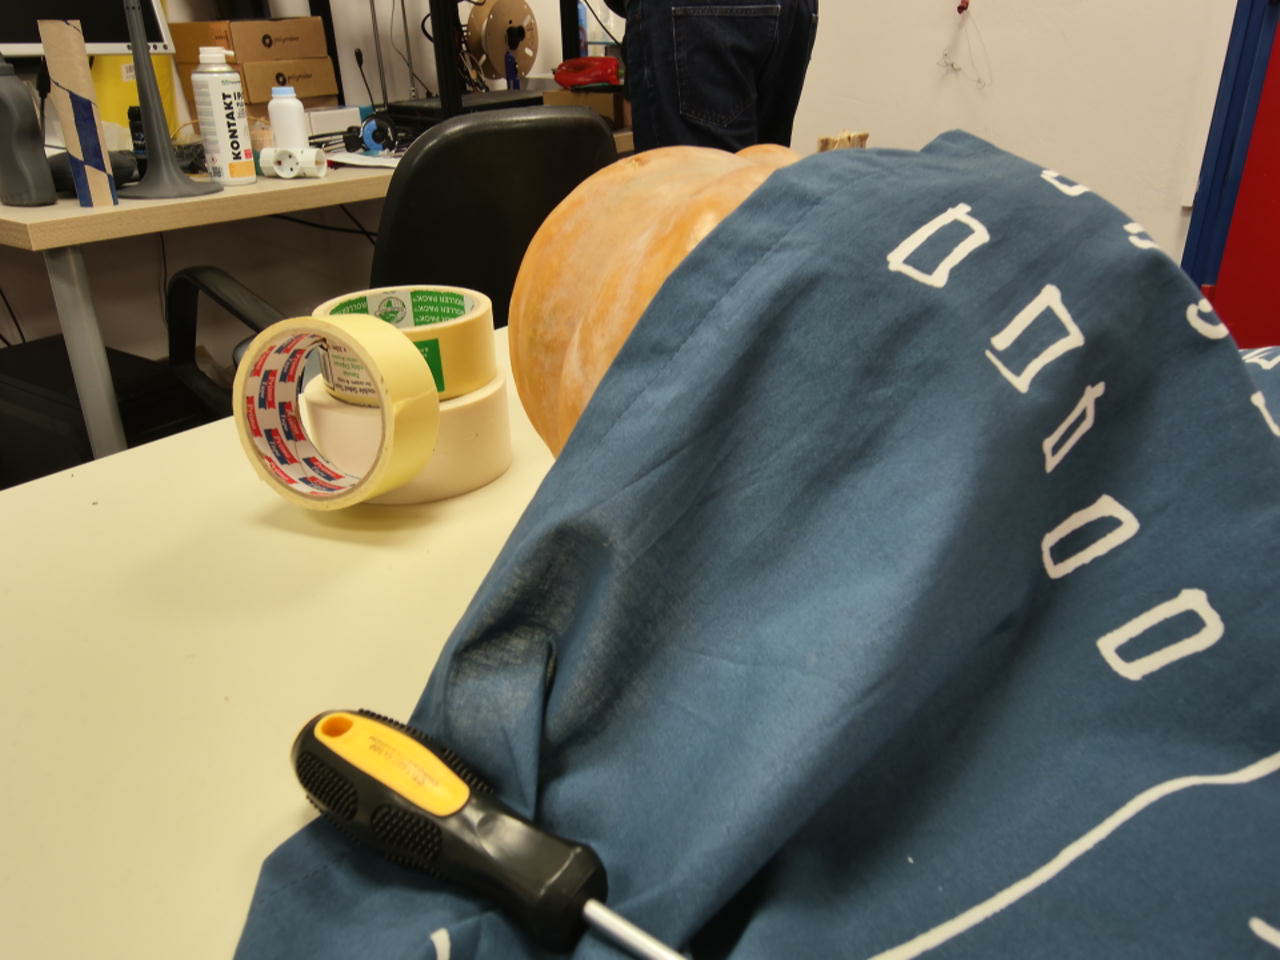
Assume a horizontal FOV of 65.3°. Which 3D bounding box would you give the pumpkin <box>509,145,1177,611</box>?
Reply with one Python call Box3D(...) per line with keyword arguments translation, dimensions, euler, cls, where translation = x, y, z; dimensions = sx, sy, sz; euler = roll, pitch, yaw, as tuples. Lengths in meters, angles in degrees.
Box3D(translation=(0.076, -0.055, 0.435), dimensions=(0.277, 0.181, 0.277), euler=(0, 23, 0), cls="pumpkin")
